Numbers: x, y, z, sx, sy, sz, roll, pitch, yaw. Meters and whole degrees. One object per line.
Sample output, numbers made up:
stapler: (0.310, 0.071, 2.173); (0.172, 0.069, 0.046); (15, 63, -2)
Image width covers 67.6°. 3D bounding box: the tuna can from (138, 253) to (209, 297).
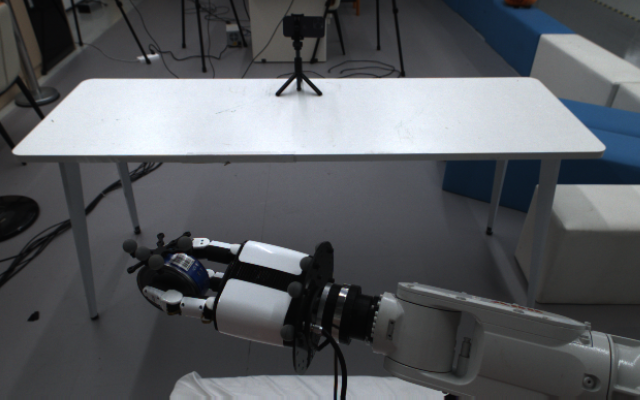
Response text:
tuna can: (-0.179, 0.106, 0.615); (0.085, 0.085, 0.034); (9, 32, 10)
